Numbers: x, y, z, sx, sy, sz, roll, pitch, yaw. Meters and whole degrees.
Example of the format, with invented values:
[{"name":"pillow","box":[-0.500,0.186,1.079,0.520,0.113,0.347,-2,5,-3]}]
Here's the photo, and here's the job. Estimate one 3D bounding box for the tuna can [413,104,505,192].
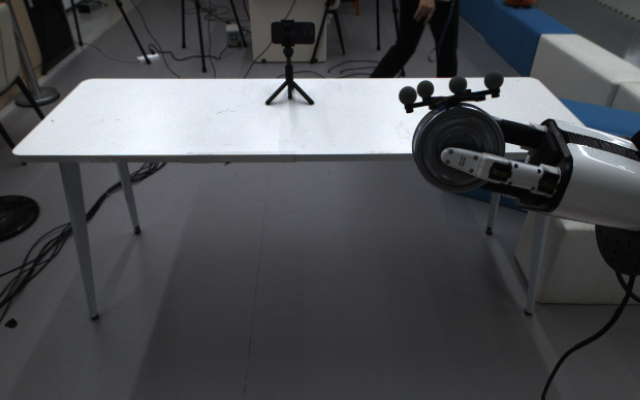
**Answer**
[{"name":"tuna can","box":[0.137,-0.054,0.478,0.085,0.085,0.034,6,18,5]}]
